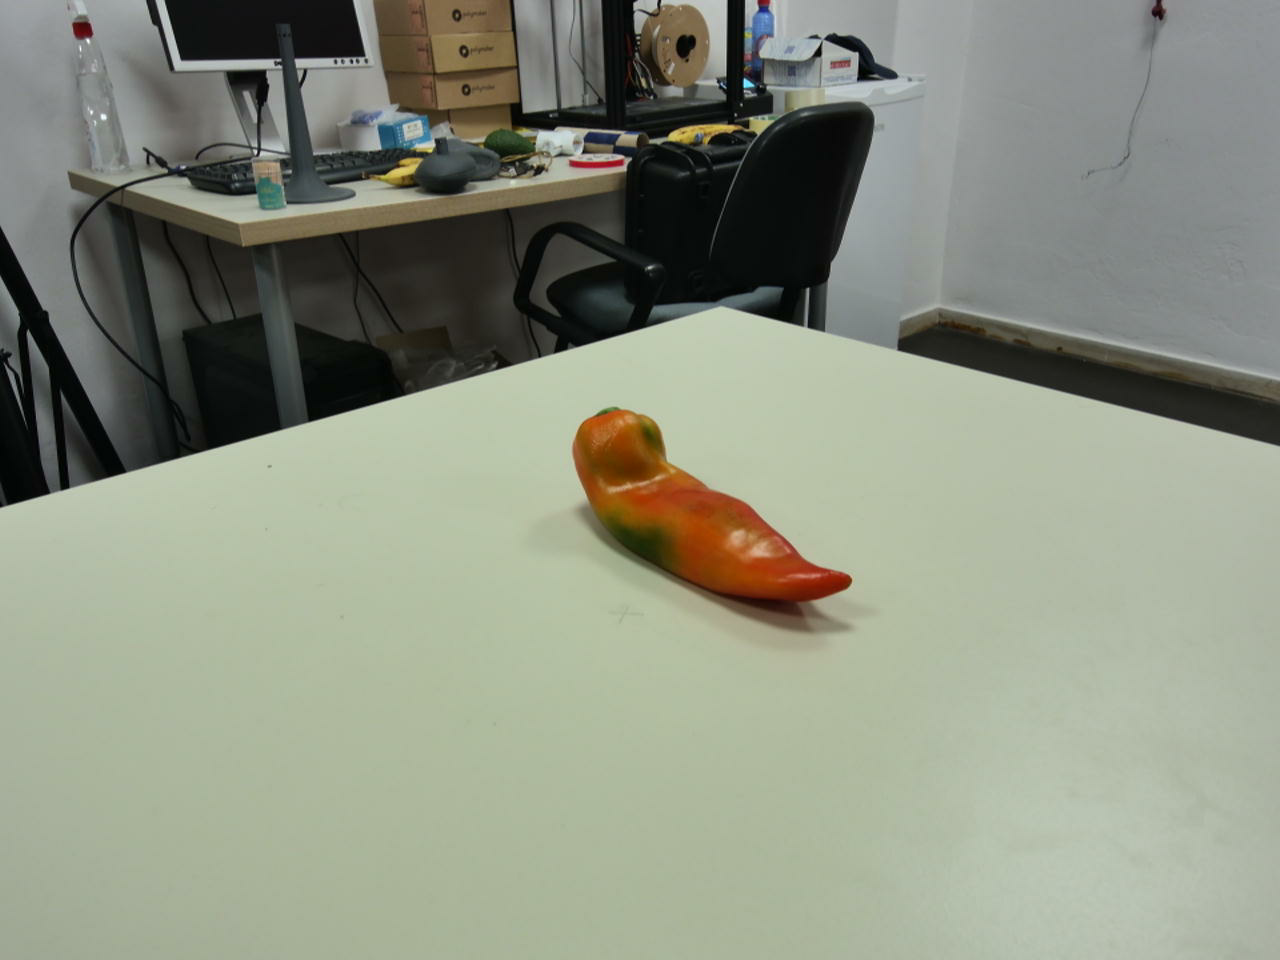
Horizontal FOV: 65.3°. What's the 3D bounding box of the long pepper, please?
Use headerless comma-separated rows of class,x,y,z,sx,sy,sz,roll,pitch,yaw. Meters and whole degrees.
long pepper,0.032,0.014,0.539,0.066,0.065,0.199,-16,28,-33
